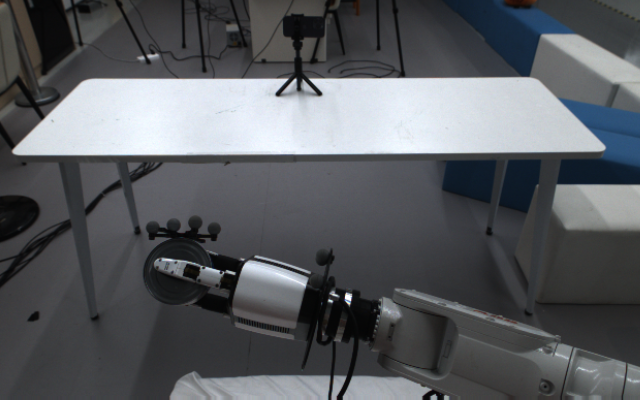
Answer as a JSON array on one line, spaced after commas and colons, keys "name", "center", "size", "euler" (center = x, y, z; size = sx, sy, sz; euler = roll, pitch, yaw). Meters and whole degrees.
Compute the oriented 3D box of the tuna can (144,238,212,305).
[{"name": "tuna can", "center": [-0.176, 0.095, 0.626], "size": [0.085, 0.034, 0.085], "euler": [1, 73, -5]}]
